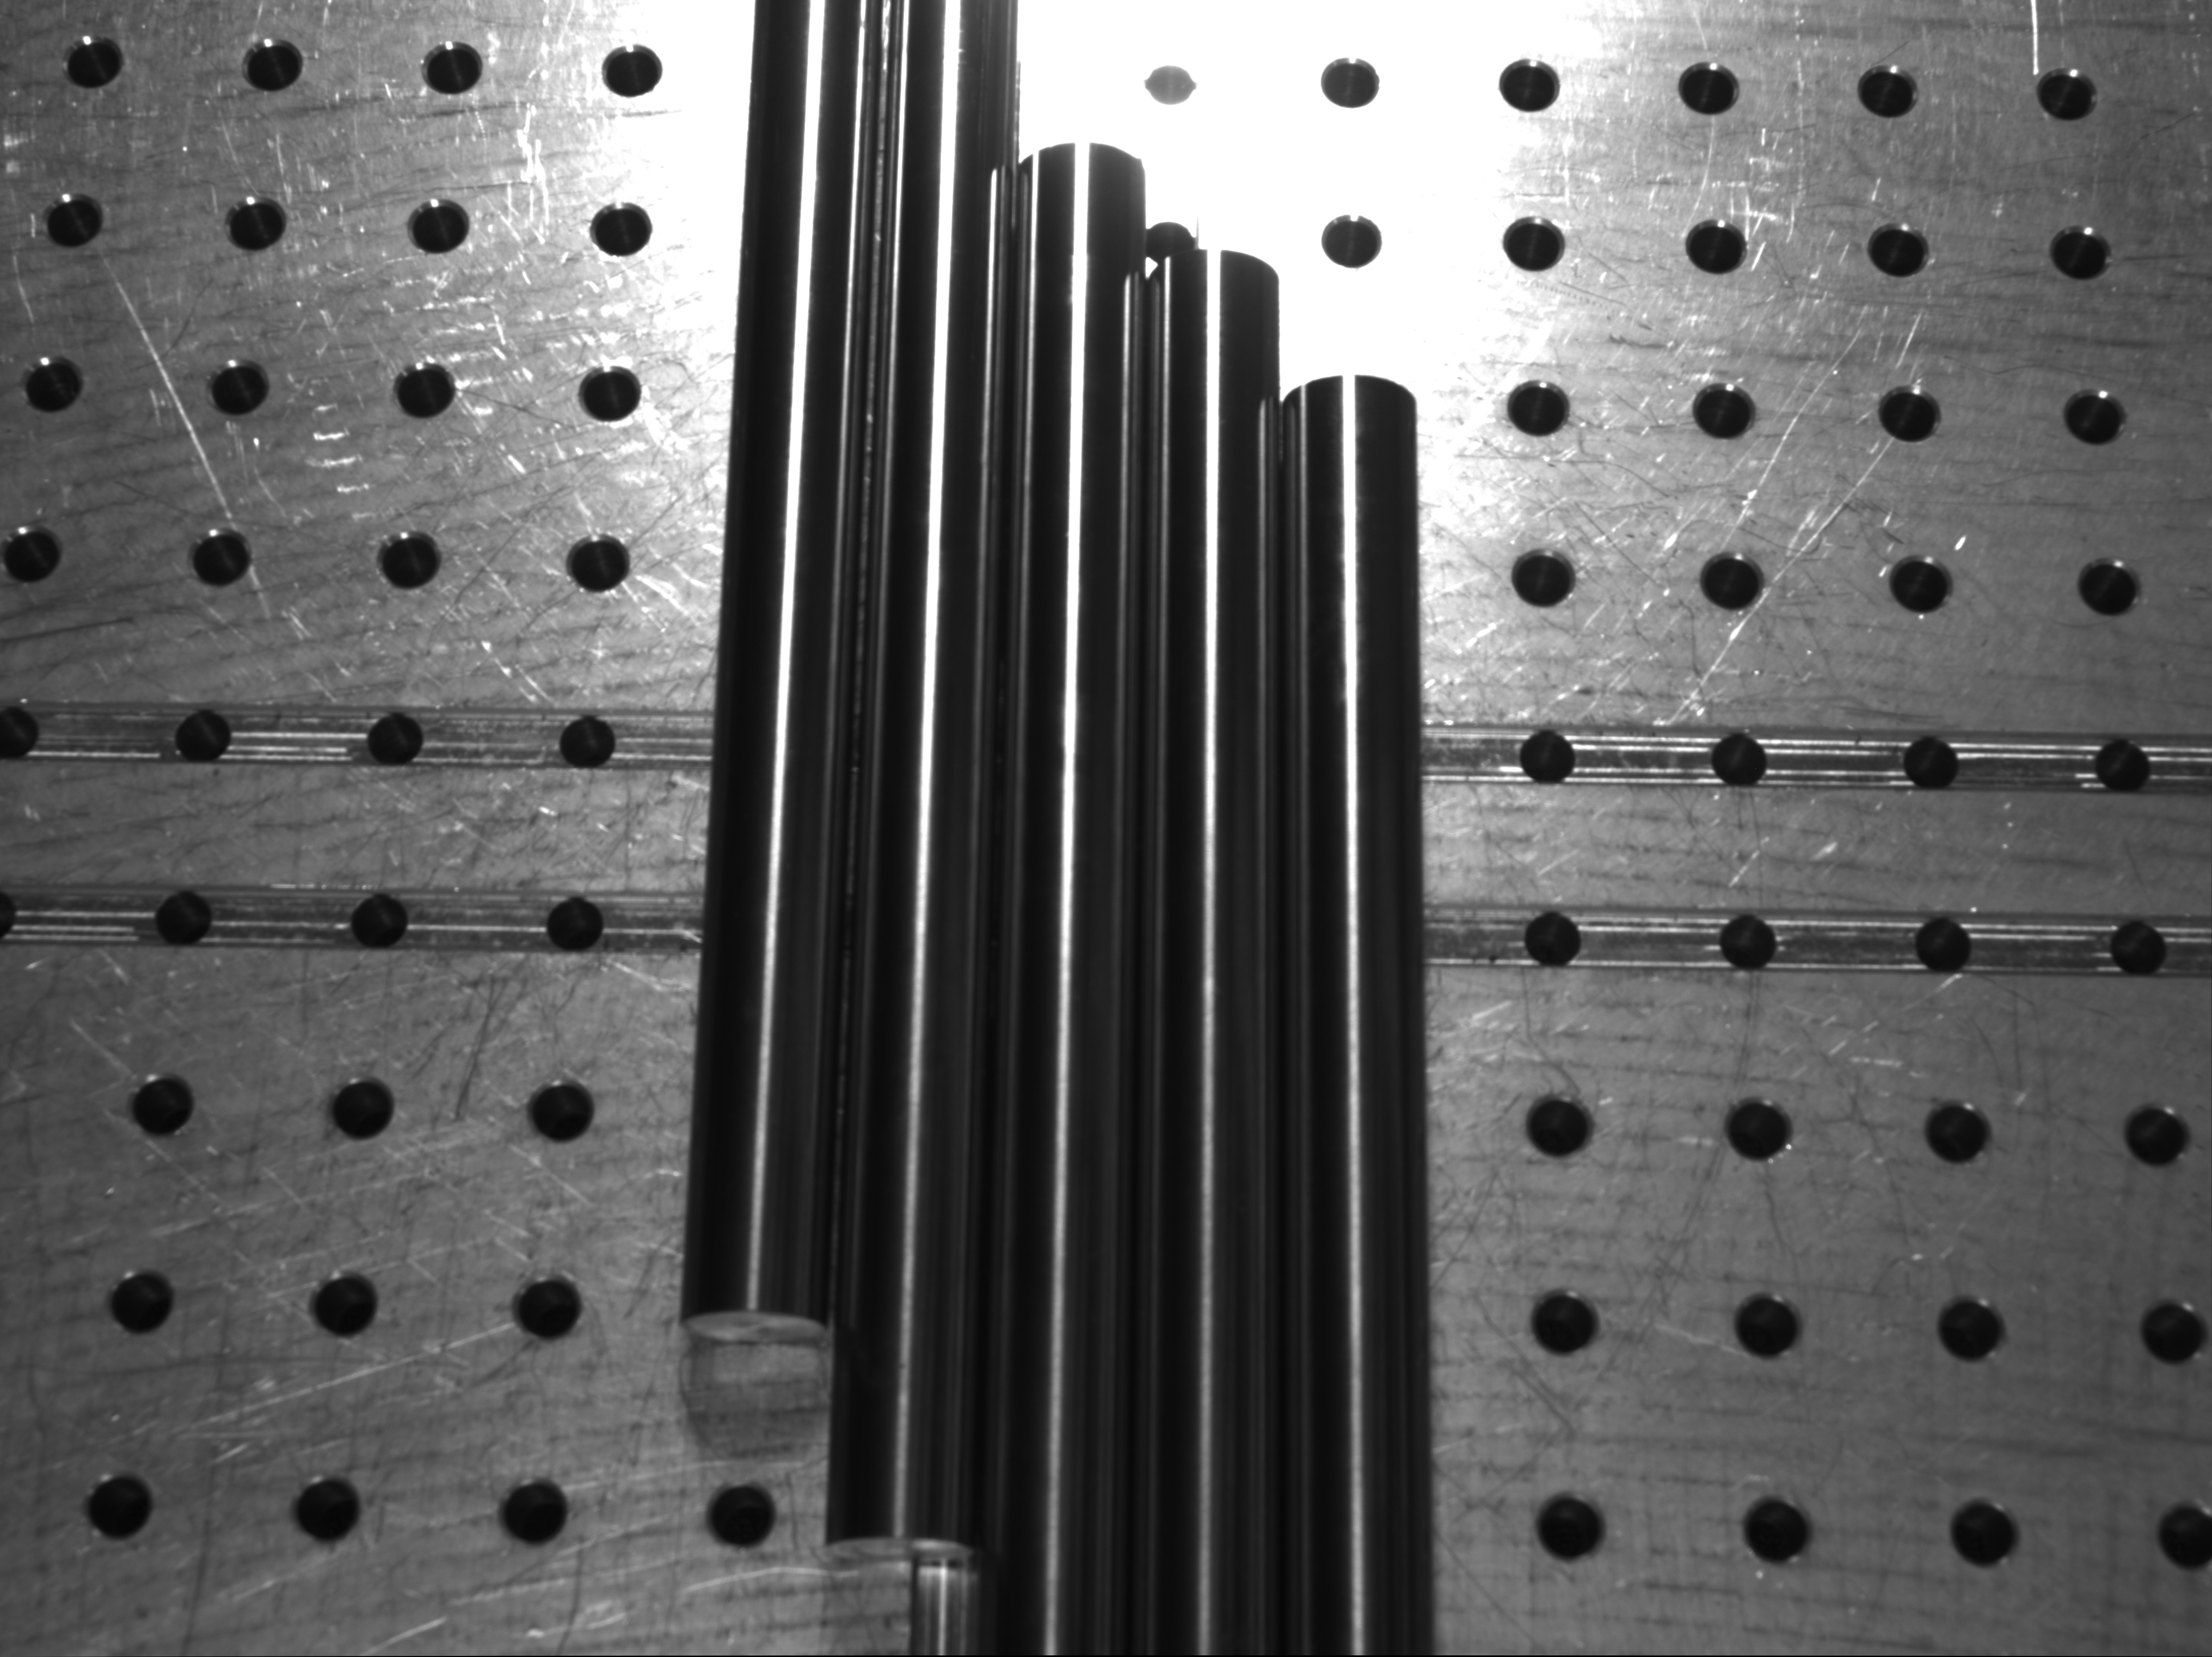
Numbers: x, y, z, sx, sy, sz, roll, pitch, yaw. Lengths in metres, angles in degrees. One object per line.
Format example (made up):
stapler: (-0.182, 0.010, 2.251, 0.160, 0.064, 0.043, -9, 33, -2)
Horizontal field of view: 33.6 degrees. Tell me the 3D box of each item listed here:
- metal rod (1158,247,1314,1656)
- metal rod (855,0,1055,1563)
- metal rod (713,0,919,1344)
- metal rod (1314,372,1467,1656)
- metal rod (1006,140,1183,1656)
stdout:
metal rod: (0.023, 0.038, 0.633, 0.025, 0.025, 0.300, 1, 70, 1)
metal rod: (-0.026, -0.022, 0.654, 0.025, 0.025, 0.300, 1, 70, 1)
metal rod: (-0.051, -0.057, 0.668, 0.025, 0.025, 0.300, 1, 70, 0)
metal rod: (0.048, 0.062, 0.624, 0.025, 0.025, 0.300, 1, 70, 1)
metal rod: (-0.001, 0.017, 0.640, 0.025, 0.025, 0.300, 1, 70, 1)
